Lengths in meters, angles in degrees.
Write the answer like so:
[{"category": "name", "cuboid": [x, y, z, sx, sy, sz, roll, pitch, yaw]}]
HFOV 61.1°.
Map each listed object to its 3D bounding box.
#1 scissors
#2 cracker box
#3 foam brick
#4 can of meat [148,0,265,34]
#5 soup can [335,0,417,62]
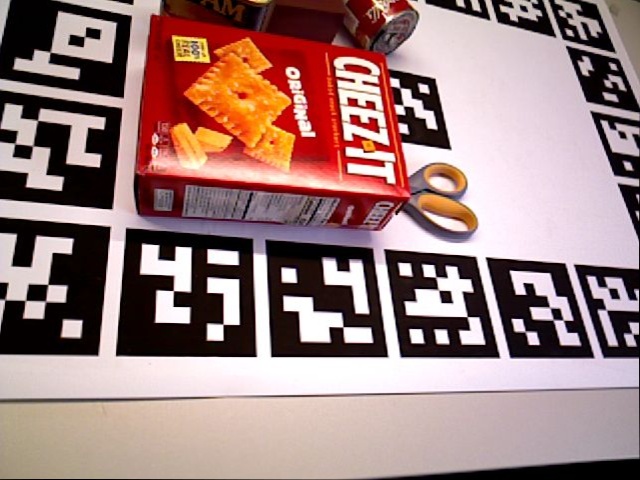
[{"category": "scissors", "cuboid": [0.055, -0.036, 0.510, 0.200, 0.016, 0.087, 0, 67, -21]}, {"category": "cracker box", "cuboid": [-0.044, -0.090, 0.459, 0.211, 0.073, 0.163, -2, 67, -18]}, {"category": "foam brick", "cuboid": [-0.027, -0.233, 0.562, 0.077, 0.052, 0.052, -6, 69, -24]}, {"category": "can of meat", "cuboid": [-0.106, -0.219, 0.502, 0.101, 0.085, 0.057, 18, 61, -14]}, {"category": "soup can", "cuboid": [0.047, -0.252, 0.598, 0.066, 0.069, 0.102, -36, 77, -31]}]
